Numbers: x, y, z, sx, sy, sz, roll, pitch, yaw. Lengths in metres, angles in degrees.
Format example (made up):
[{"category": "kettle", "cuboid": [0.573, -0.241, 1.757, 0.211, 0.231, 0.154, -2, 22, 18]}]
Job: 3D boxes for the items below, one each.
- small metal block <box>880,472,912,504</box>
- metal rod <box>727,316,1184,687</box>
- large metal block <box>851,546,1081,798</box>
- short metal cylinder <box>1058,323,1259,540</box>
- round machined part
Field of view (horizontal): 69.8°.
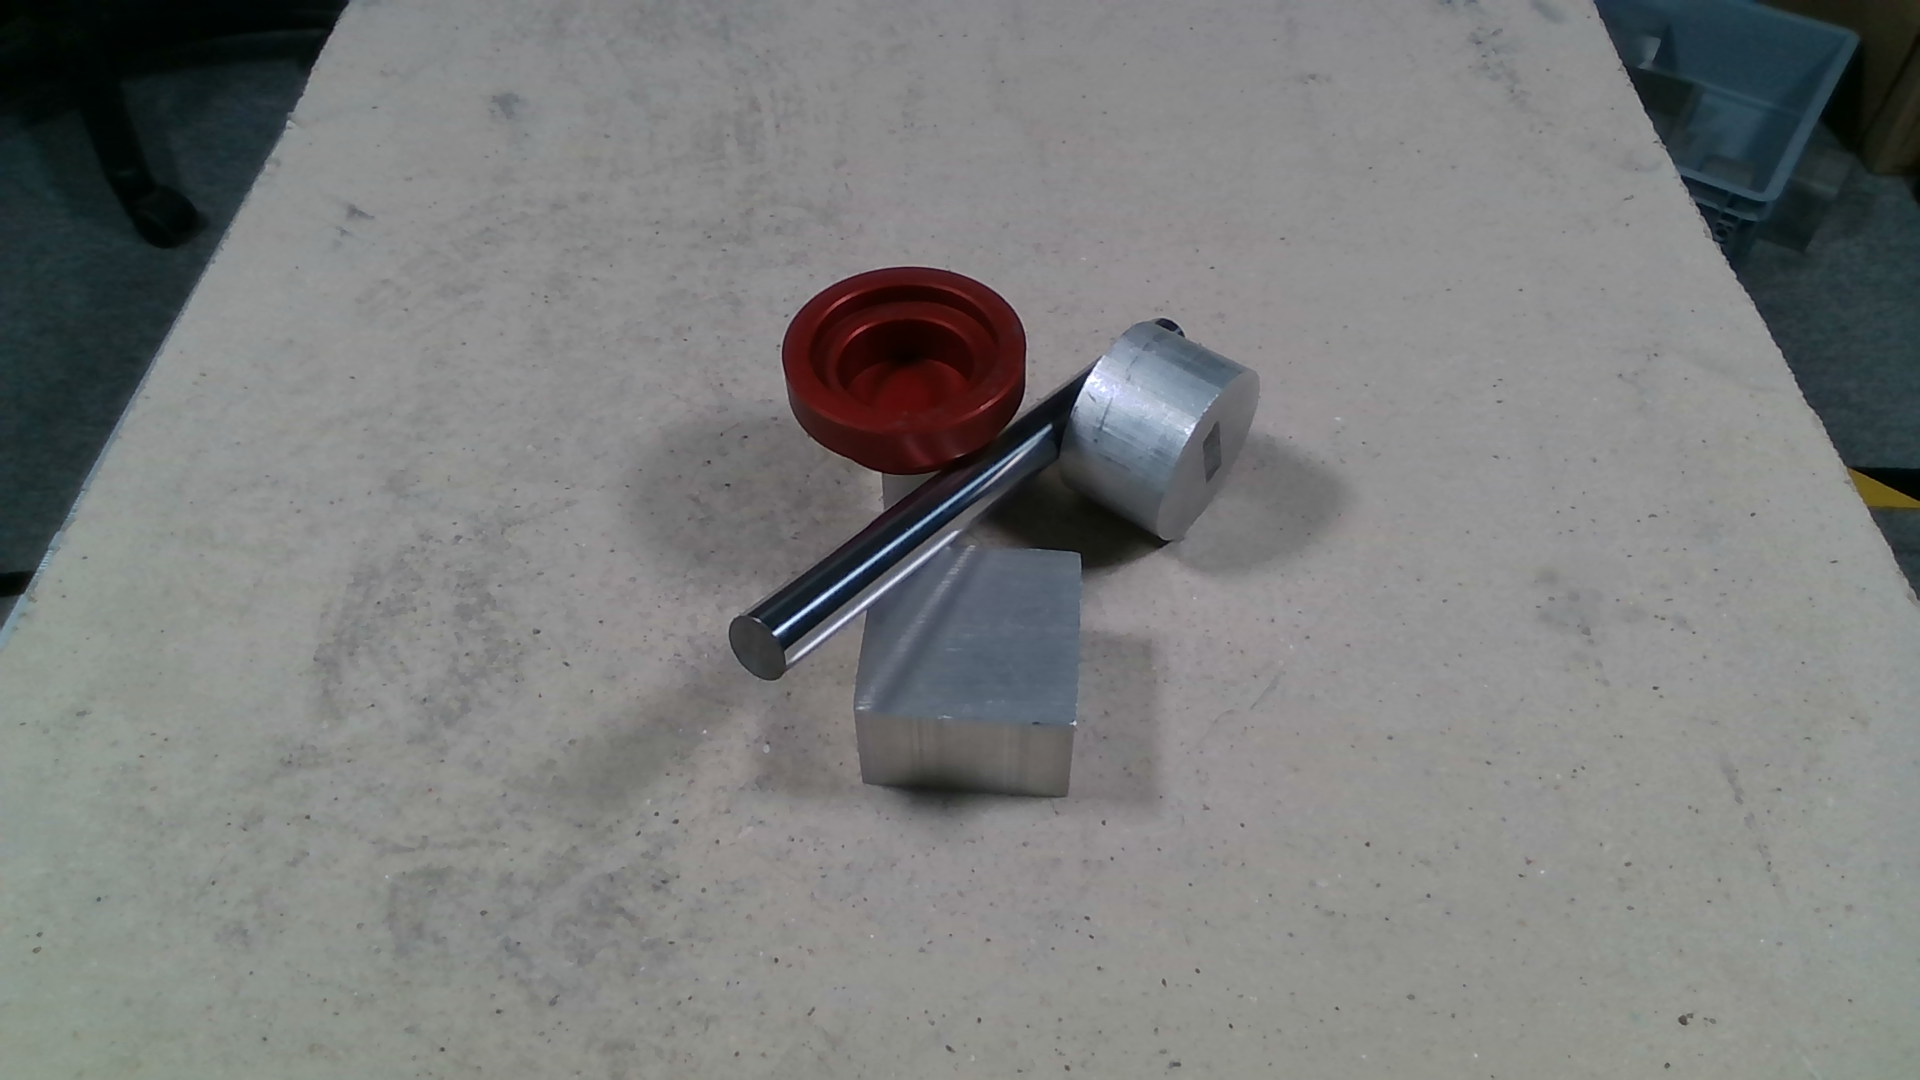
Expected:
[{"category": "small metal block", "cuboid": [-0.010, -0.038, 0.604, 0.050, 0.050, 0.025, -2, 50, -1]}, {"category": "metal rod", "cuboid": [0.015, -0.029, 0.563, 0.025, 0.025, 0.299, 28, 41, 22]}, {"category": "large metal block", "cuboid": [0.004, 0.049, 0.530, 0.080, 0.050, 0.080, 3, 50, 3]}, {"category": "short metal cylinder", "cuboid": [0.086, -0.047, 0.590, 0.050, 0.080, 0.080, 30, 56, 23]}, {"category": "round machined part", "cuboid": [-0.022, -0.065, 0.566, 0.098, 0.042, 0.098, -1, 50, 1]}]
